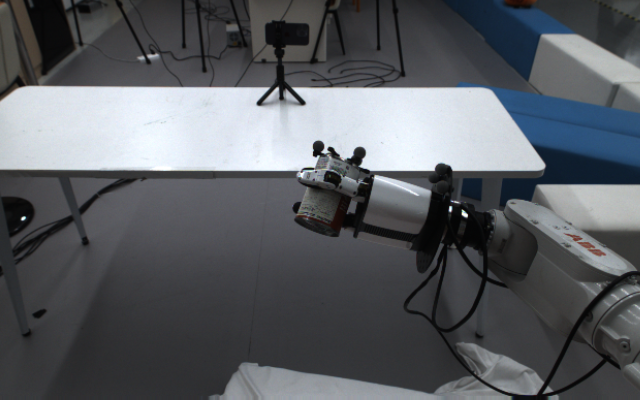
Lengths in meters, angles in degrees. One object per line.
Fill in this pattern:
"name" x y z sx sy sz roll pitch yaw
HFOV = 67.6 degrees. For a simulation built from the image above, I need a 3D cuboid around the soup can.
"soup can" 0.013 -0.005 0.698 0.067 0.067 0.101 15 75 18
